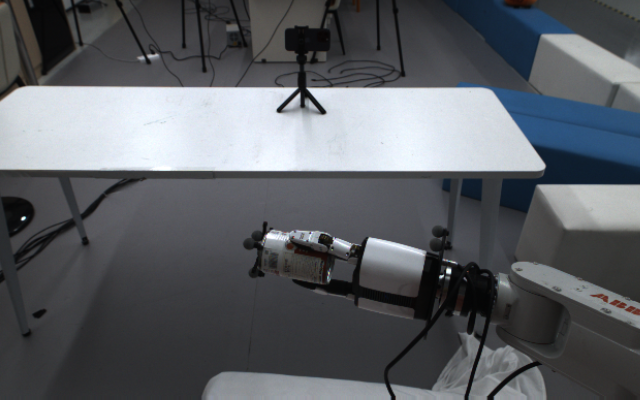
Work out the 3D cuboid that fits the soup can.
[{"bbox_3d":[-0.029,0.085,0.714,0.101,0.067,0.067,9,35,9],"label":"soup can"}]
